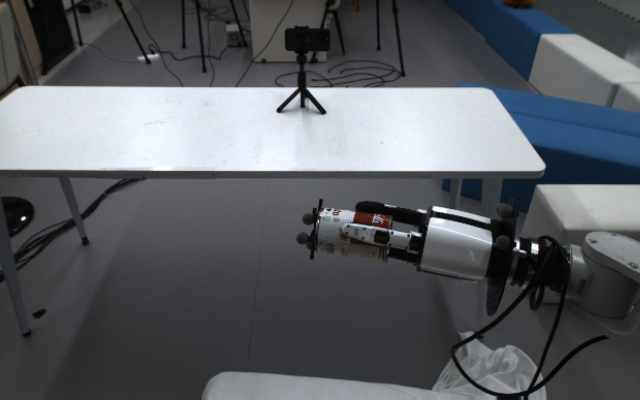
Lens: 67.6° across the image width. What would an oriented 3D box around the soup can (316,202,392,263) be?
[{"bbox_3d":[0.051,0.048,0.690,0.101,0.067,0.067,7,35,10],"label":"soup can"}]
